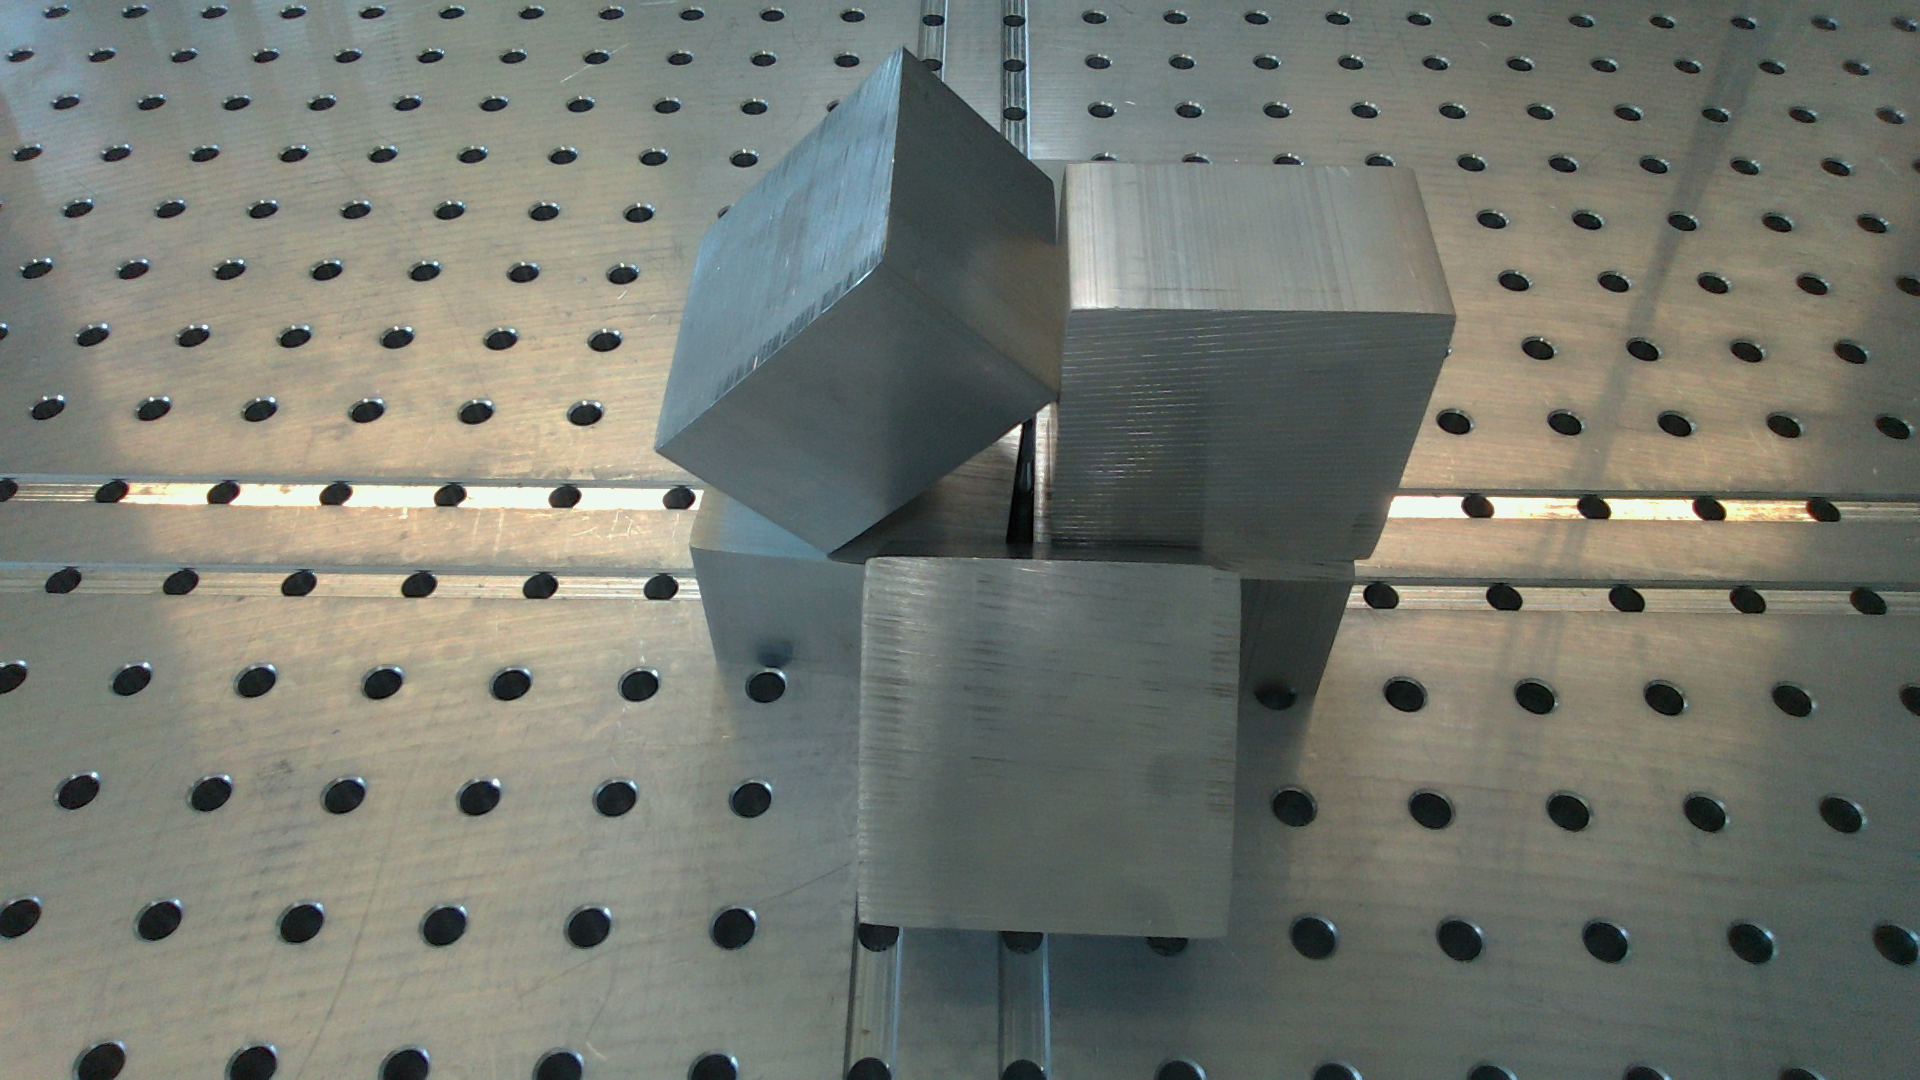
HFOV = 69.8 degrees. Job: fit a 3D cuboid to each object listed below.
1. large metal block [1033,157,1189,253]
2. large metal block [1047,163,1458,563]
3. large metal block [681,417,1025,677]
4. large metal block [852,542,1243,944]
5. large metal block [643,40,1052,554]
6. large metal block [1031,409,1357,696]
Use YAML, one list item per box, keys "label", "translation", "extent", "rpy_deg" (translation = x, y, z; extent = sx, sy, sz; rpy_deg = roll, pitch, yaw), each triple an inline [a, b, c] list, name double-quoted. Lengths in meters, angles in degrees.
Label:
- label: "large metal block"
  translation: [0.029, -0.079, 0.415]
  extent: [0.080, 0.080, 0.050]
  rpy_deg: [2, 88, 2]
- label: "large metal block"
  translation: [0.062, -0.040, 0.327]
  extent: [0.080, 0.080, 0.050]
  rpy_deg: [1, 50, 1]
- label: "large metal block"
  translation: [-0.025, -0.009, 0.386]
  extent: [0.080, 0.050, 0.080]
  rpy_deg: [5, 50, 4]
- label: "large metal block"
  translation: [0.019, 0.043, 0.315]
  extent: [0.080, 0.050, 0.080]
  rpy_deg: [2, 94, 2]
- label: "large metal block"
  translation: [-0.025, -0.056, 0.330]
  extent: [0.080, 0.050, 0.080]
  rpy_deg: [-32, 40, 34]
- label: "large metal block"
  translation: [0.060, -0.006, 0.383]
  extent: [0.080, 0.050, 0.080]
  rpy_deg: [2, 50, 2]
